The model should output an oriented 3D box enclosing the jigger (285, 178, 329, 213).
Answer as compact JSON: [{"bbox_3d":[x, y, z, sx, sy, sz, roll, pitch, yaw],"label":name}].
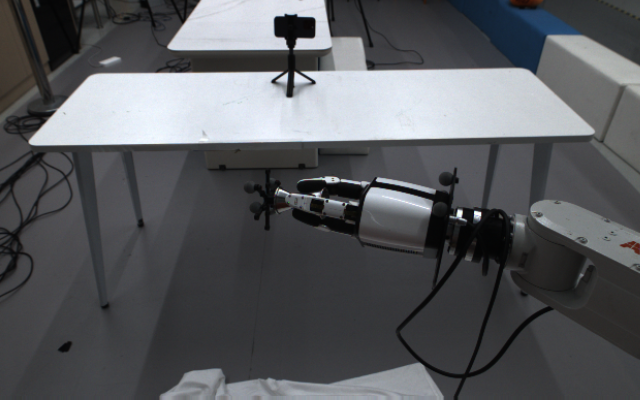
[{"bbox_3d":[-0.018,-0.002,0.673,0.071,0.043,0.043,3,34,17],"label":"jigger"}]
